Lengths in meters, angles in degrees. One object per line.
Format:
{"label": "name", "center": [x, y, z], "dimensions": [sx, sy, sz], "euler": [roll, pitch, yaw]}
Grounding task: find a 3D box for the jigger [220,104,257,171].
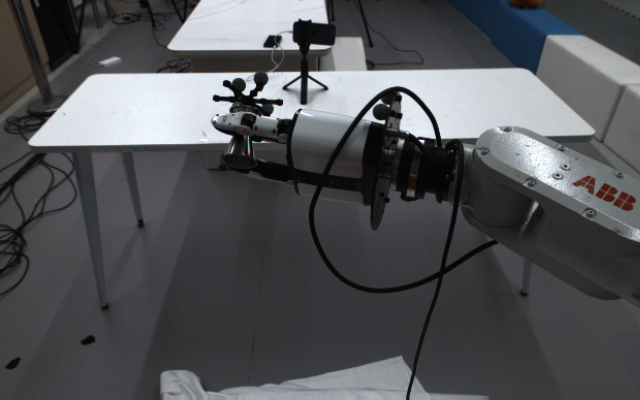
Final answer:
{"label": "jigger", "center": [-0.099, -0.079, 0.596], "dimensions": [0.043, 0.043, 0.071], "euler": [4, 71, 2]}
